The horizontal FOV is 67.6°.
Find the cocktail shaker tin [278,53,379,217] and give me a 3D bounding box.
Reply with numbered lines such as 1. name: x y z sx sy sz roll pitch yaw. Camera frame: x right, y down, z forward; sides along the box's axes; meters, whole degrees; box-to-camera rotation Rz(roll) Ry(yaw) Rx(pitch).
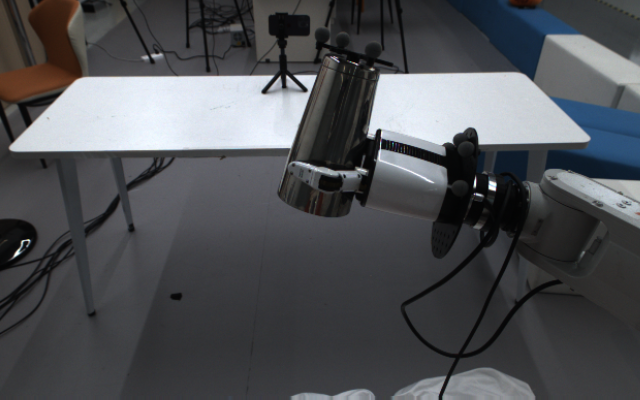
1. cocktail shaker tin: 0.015 -0.076 0.565 0.093 0.170 0.093 14 20 -5
